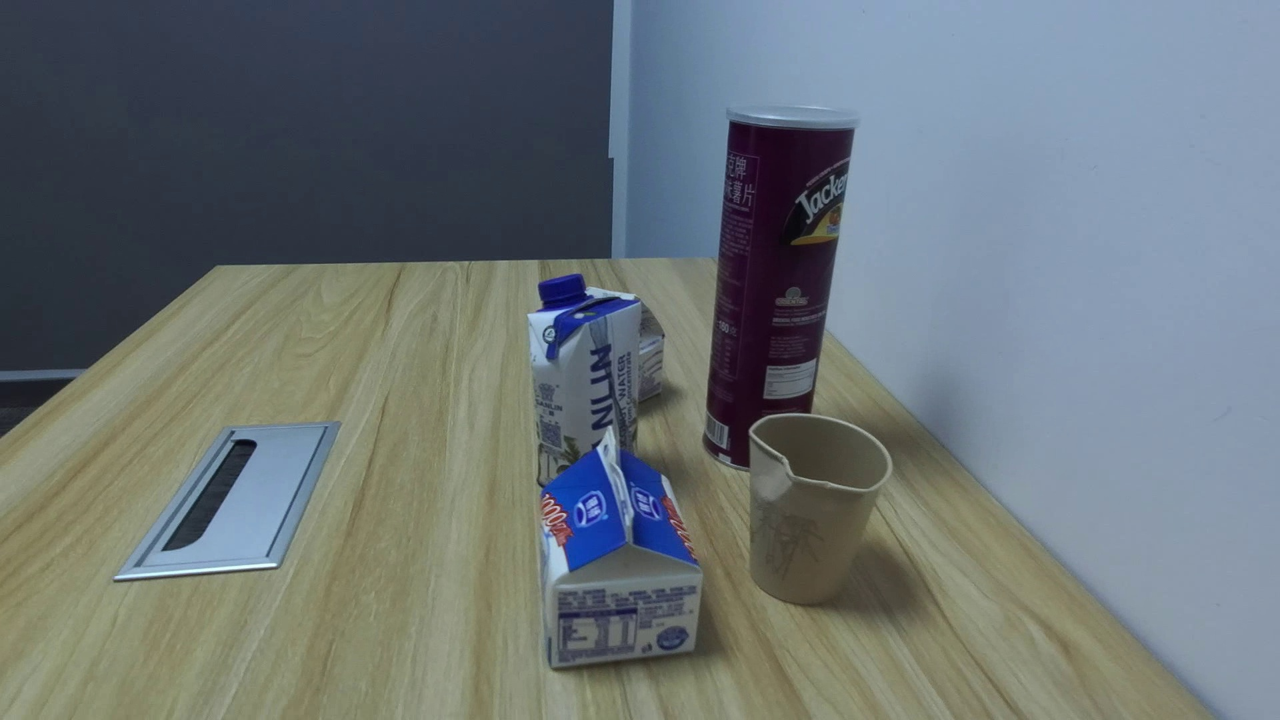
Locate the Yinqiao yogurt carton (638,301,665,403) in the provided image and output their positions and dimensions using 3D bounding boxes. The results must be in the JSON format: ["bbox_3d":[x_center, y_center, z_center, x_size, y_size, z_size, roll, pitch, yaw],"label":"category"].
[{"bbox_3d":[-0.027,-0.016,0.572,0.077,0.093,0.083,-22,34,-40],"label":"Yinqiao yogurt carton"}]

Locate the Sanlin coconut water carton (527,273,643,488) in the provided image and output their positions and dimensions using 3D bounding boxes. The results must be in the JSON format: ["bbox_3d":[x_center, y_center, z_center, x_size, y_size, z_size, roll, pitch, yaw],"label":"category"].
[{"bbox_3d":[-0.034,0.017,0.447,0.057,0.142,0.078,14,26,36],"label":"Sanlin coconut water carton"}]

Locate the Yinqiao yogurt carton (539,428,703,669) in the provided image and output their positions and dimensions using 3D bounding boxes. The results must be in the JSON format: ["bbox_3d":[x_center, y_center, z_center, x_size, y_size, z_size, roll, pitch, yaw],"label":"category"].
[{"bbox_3d":[-0.012,0.089,0.350,0.074,0.092,0.075,-2,27,-11],"label":"Yinqiao yogurt carton"}]

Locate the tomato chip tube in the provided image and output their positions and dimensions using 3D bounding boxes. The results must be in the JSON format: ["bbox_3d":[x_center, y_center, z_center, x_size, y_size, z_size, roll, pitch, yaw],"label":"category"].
[{"bbox_3d":[0.088,-0.042,0.472,0.078,0.234,0.078,2,24,-1],"label":"tomato chip tube"}]
